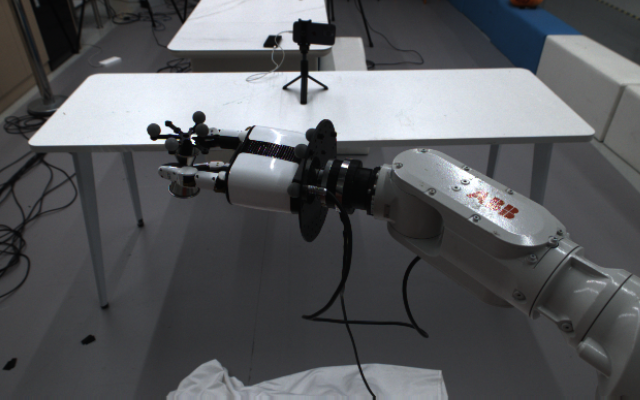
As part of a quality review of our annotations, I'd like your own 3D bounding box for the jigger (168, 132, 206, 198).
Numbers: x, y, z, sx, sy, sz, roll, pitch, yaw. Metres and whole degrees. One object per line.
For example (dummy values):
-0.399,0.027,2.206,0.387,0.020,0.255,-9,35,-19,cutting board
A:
-0.185,-0.042,0.665,0.043,0.071,0.043,9,36,-7,jigger
